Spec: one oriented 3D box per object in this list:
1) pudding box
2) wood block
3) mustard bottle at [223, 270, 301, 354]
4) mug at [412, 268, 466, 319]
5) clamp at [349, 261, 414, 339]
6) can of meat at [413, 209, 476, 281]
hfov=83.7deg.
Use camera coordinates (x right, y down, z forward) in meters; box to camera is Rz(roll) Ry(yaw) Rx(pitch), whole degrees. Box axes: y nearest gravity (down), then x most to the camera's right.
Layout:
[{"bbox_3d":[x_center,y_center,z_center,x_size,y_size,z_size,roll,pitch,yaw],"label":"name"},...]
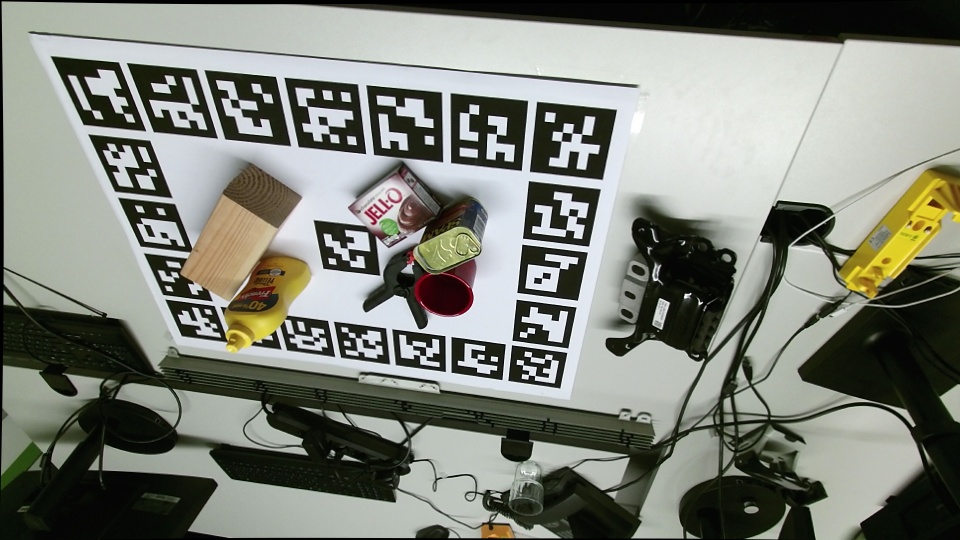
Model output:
[{"bbox_3d":[-0.152,-0.083,0.821,0.114,0.038,0.090,-28,117,29],"label":"pudding box"},{"bbox_3d":[-0.406,-0.044,0.867,0.090,0.090,0.206,36,126,-18],"label":"wood block"},{"bbox_3d":[-0.376,0.076,0.882,0.096,0.191,0.058,2,126,8],"label":"mustard bottle"},{"bbox_3d":[-0.070,0.029,0.891,0.093,0.081,0.117,24,125,-8],"label":"mug"},{"bbox_3d":[-0.152,0.049,0.927,0.122,0.036,0.165,23,125,-5],"label":"clamp"},{"bbox_3d":[-0.059,-0.039,0.803,0.102,0.083,0.058,-20,119,23],"label":"can of meat"}]
